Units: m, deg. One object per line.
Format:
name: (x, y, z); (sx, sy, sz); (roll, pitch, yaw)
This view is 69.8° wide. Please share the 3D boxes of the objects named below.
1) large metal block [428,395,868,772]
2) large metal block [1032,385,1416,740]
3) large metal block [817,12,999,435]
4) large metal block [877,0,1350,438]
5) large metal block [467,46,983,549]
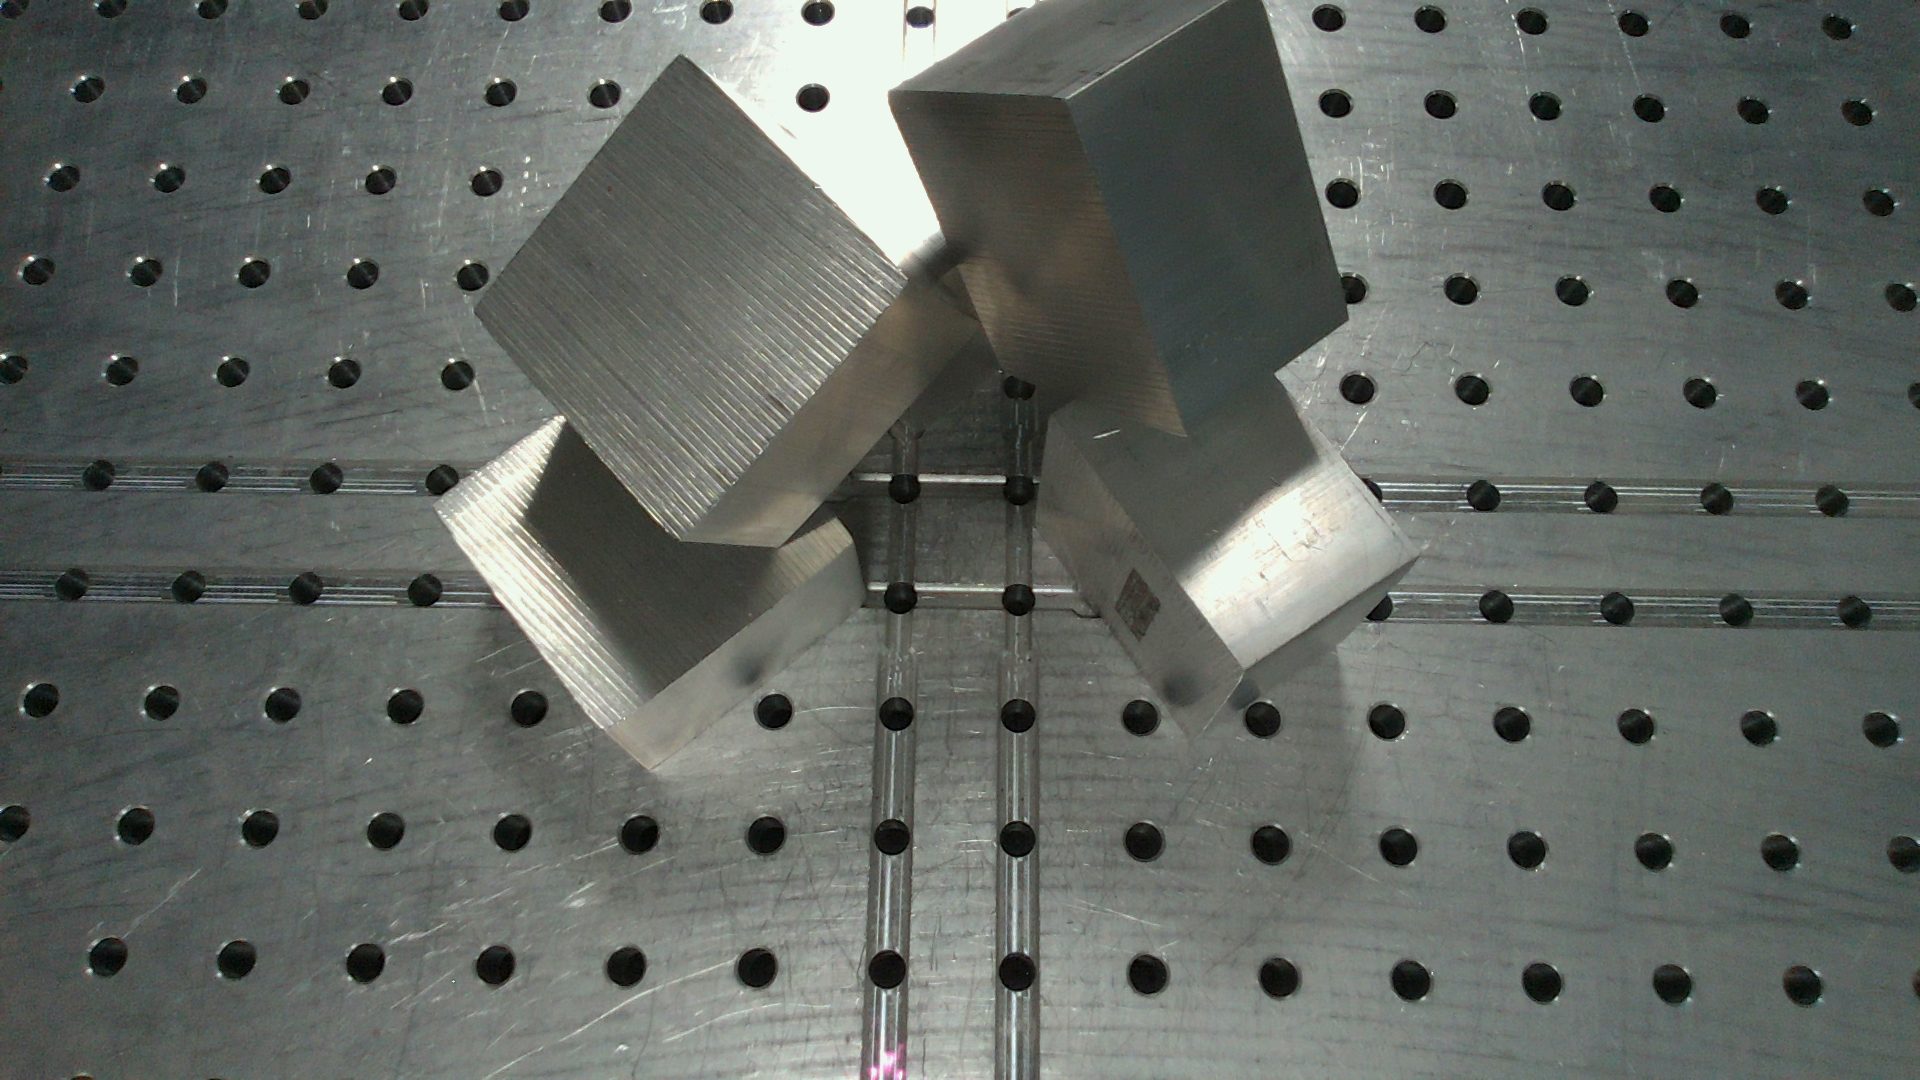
large metal block: (-0.083, 0.004, 0.381); (0.080, 0.050, 0.080); (-38, 74, -13)
large metal block: (0.064, -0.001, 0.367); (0.050, 0.080, 0.080); (-32, 73, -11)
large metal block: (-0.002, -0.088, 0.398); (0.080, 0.080, 0.050); (-40, 75, -13)
large metal block: (0.035, -0.079, 0.321); (0.050, 0.080, 0.080); (-36, 31, -16)
large metal block: (-0.056, -0.055, 0.334); (0.080, 0.050, 0.080); (46, 102, 15)
